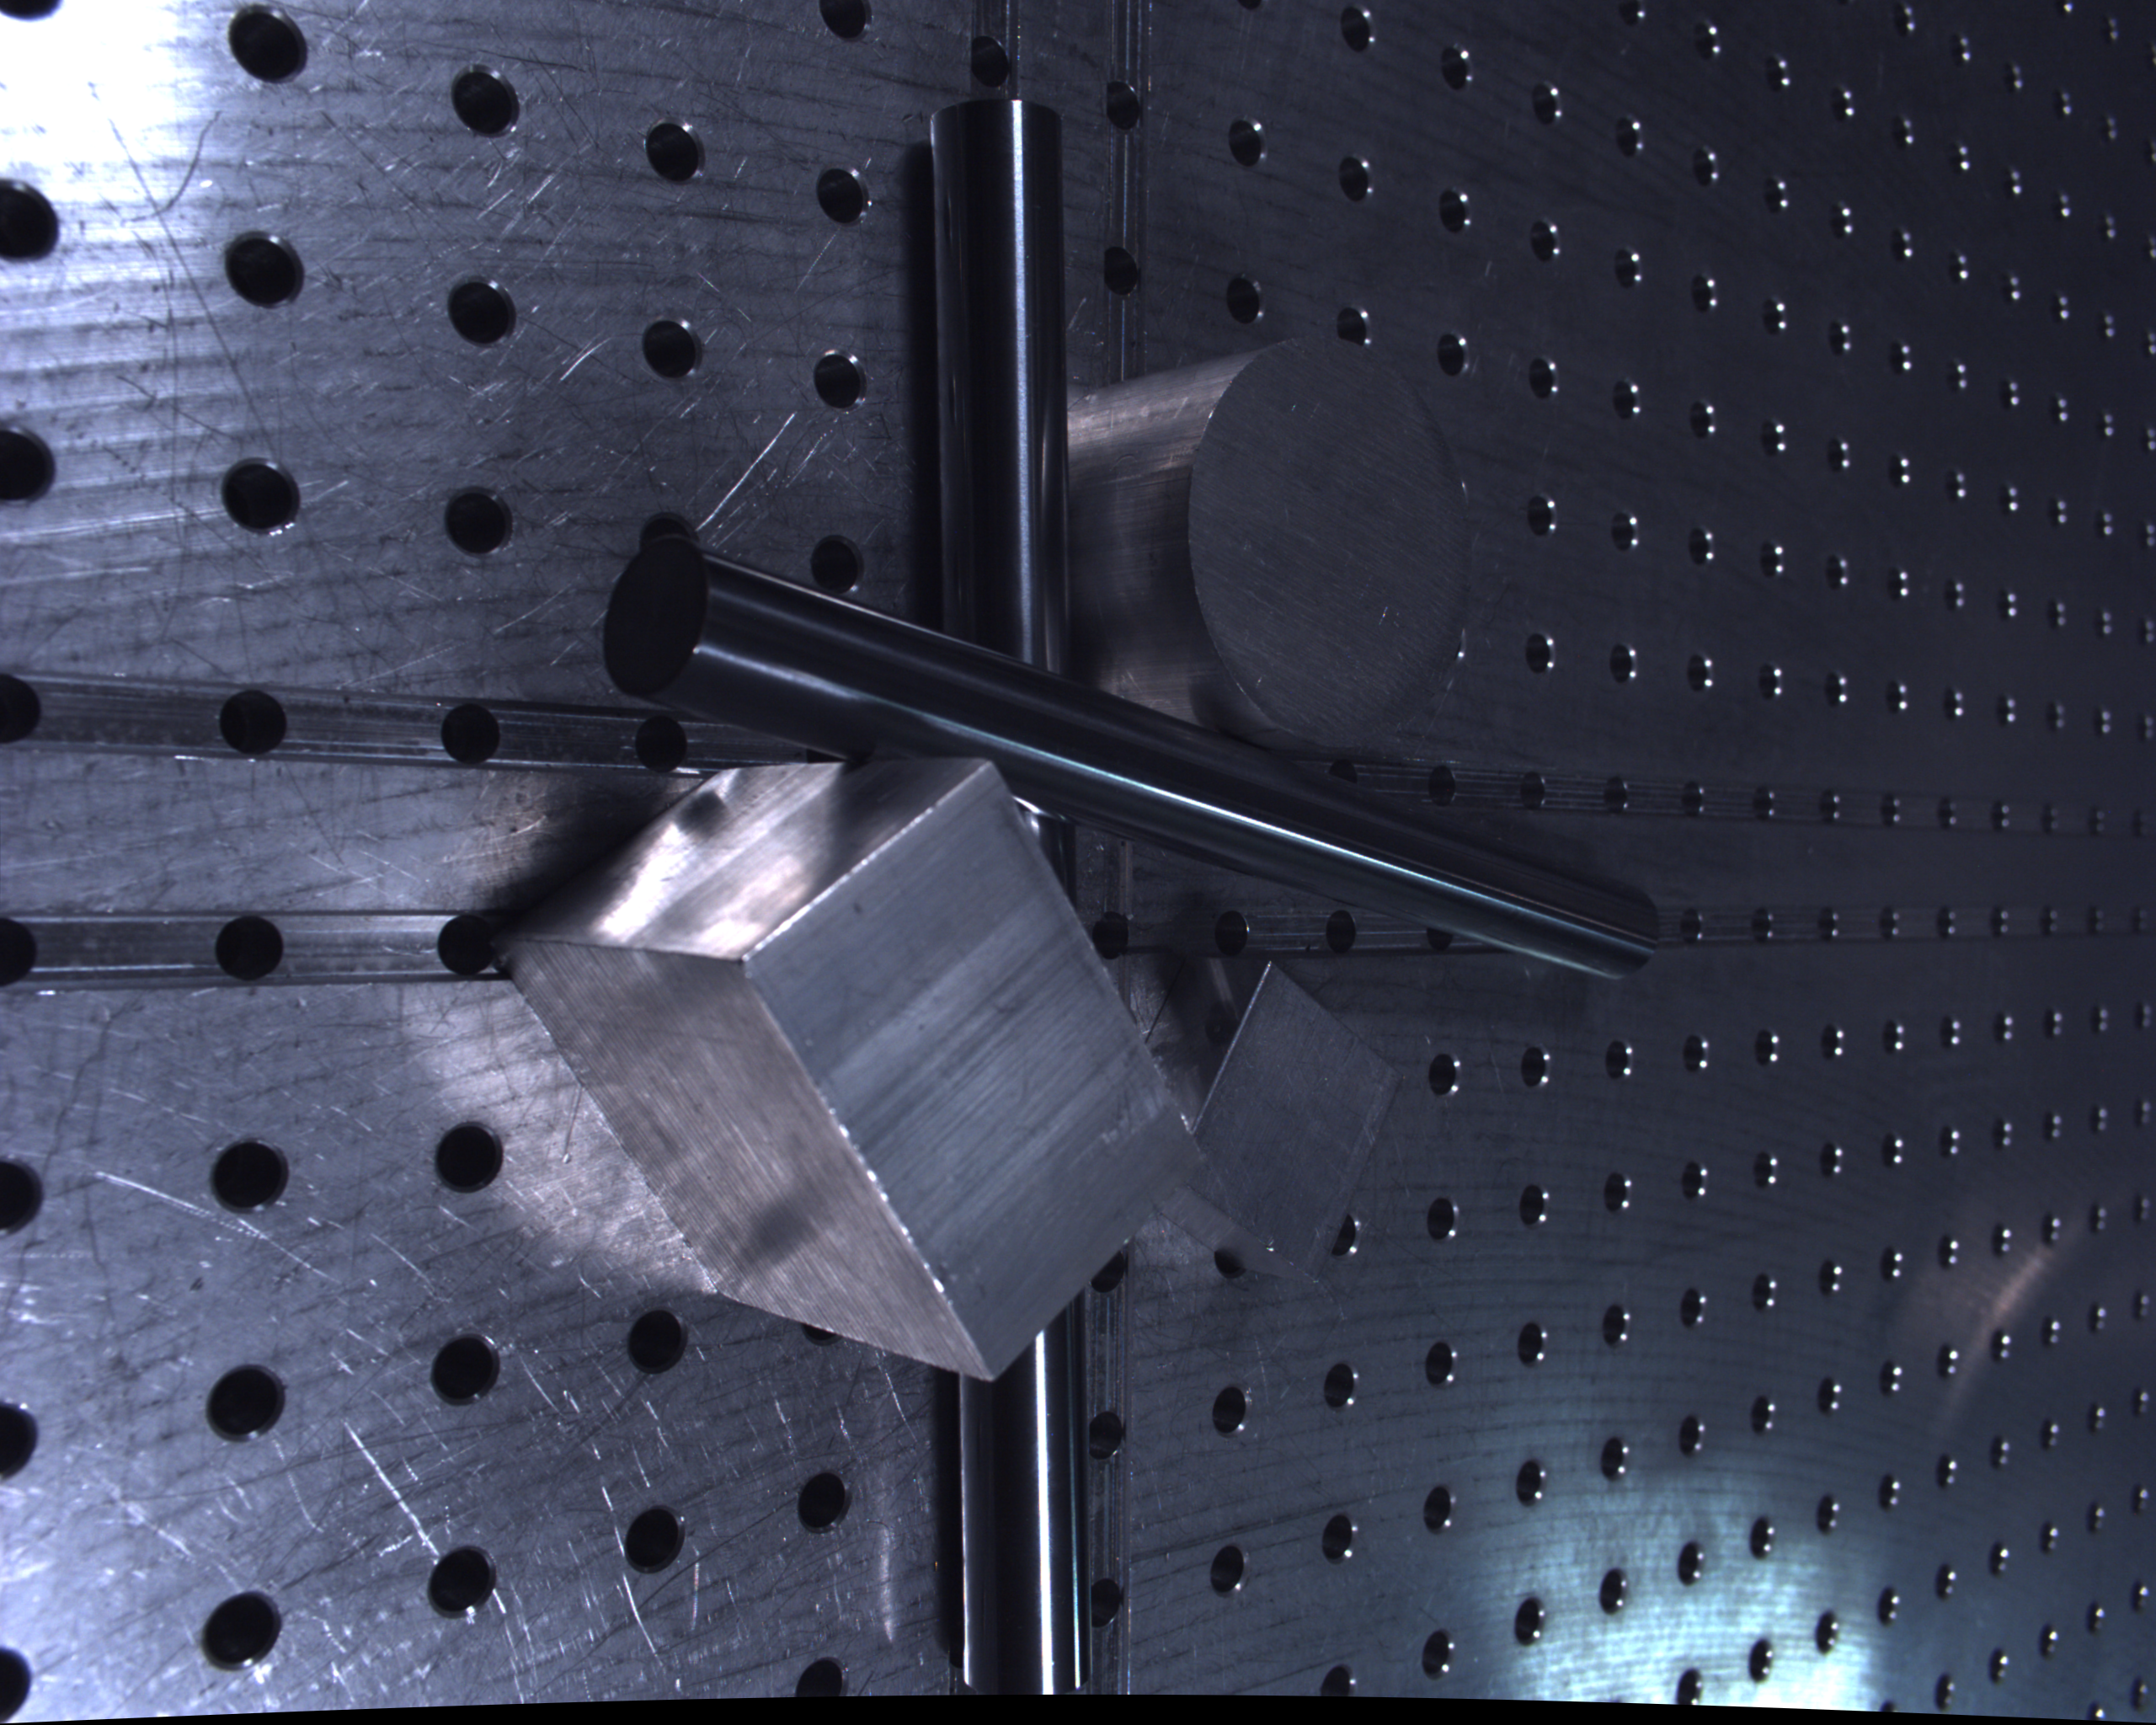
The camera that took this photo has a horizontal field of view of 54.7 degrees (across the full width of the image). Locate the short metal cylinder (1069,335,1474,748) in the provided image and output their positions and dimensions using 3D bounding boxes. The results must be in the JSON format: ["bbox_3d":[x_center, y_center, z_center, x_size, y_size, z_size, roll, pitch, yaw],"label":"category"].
[{"bbox_3d":[0.035,-0.062,0.424,0.081,0.050,0.079,0,90,-40],"label":"short metal cylinder"}]

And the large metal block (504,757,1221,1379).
[{"bbox_3d":[-0.036,0.031,0.343,0.050,0.080,0.080,-42,116,-32],"label":"large metal block"}]

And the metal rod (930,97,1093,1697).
[{"bbox_3d":[-0.013,0.007,0.401,0.025,0.025,0.298,-2,92,-40],"label":"metal rod"}]

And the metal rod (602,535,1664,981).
[{"bbox_3d":[0.037,-0.009,0.418,0.302,0.025,0.025,15,80,-47],"label":"metal rod"}]

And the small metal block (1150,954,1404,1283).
[{"bbox_3d":[0.037,0.054,0.443,0.050,0.025,0.050,41,65,-33],"label":"small metal block"}]
